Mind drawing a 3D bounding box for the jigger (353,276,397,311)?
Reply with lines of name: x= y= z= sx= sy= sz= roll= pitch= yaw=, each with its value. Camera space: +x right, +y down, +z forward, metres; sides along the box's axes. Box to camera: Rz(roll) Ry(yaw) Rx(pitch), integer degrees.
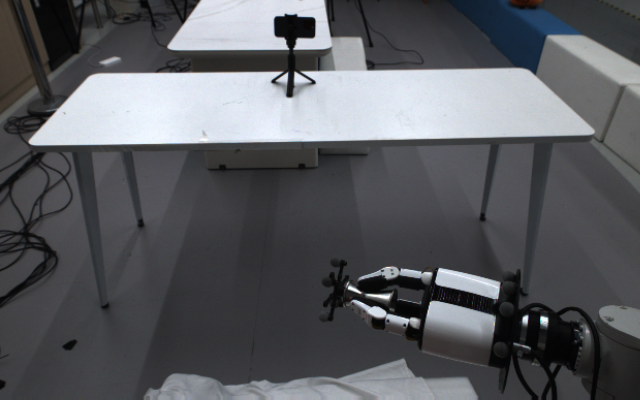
jigger: x=0.077 y=0.136 z=0.683 sx=0.071 sy=0.043 sz=0.043 roll=10 pitch=35 yaw=22
